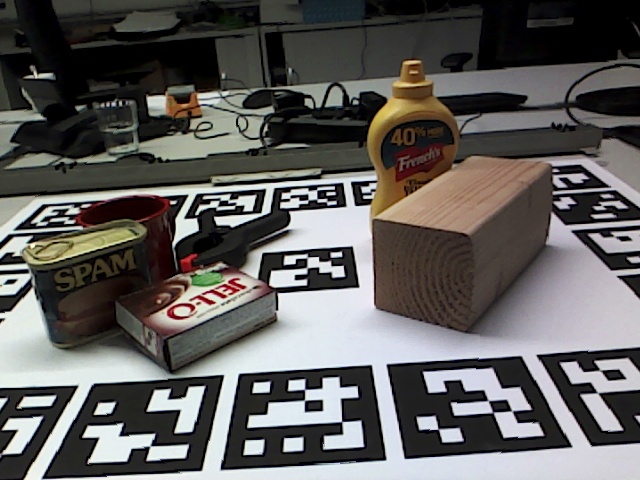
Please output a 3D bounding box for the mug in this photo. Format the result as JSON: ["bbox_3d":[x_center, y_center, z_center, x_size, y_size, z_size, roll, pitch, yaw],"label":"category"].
[{"bbox_3d":[-0.199,0.020,0.661,0.094,0.081,0.117,6,29,21],"label":"mug"}]

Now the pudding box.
[{"bbox_3d":[-0.109,0.069,0.542,0.113,0.038,0.090,-23,31,-36],"label":"pudding box"}]

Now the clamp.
[{"bbox_3d":[-0.118,0.001,0.697,0.122,0.036,0.165,5,29,17],"label":"clamp"}]

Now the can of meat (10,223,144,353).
[{"bbox_3d":[-0.210,0.042,0.551,0.101,0.083,0.058,-19,30,-27],"label":"can of meat"}]

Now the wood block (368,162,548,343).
[{"bbox_3d":[0.137,0.000,0.589,0.090,0.091,0.205,12,28,35],"label":"wood block"}]

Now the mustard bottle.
[{"bbox_3d":[0.089,-0.091,0.660,0.096,0.191,0.058,-7,26,-3],"label":"mustard bottle"}]
